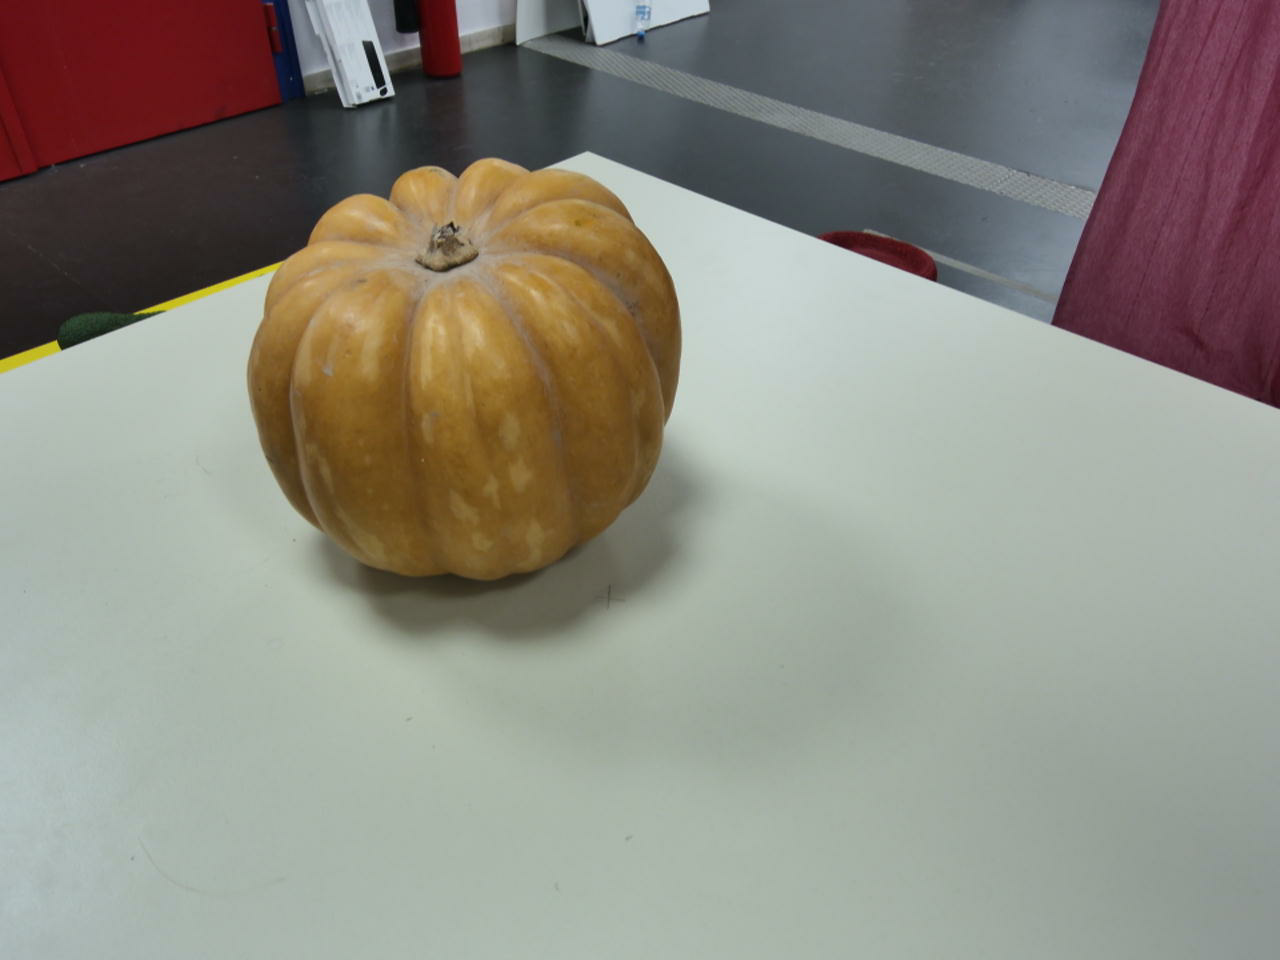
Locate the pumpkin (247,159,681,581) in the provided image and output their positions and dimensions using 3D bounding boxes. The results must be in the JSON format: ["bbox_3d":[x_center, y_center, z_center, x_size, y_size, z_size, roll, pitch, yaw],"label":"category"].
[{"bbox_3d":[-0.088,-0.057,0.532,0.230,0.194,0.230,1,38,-1],"label":"pumpkin"}]
